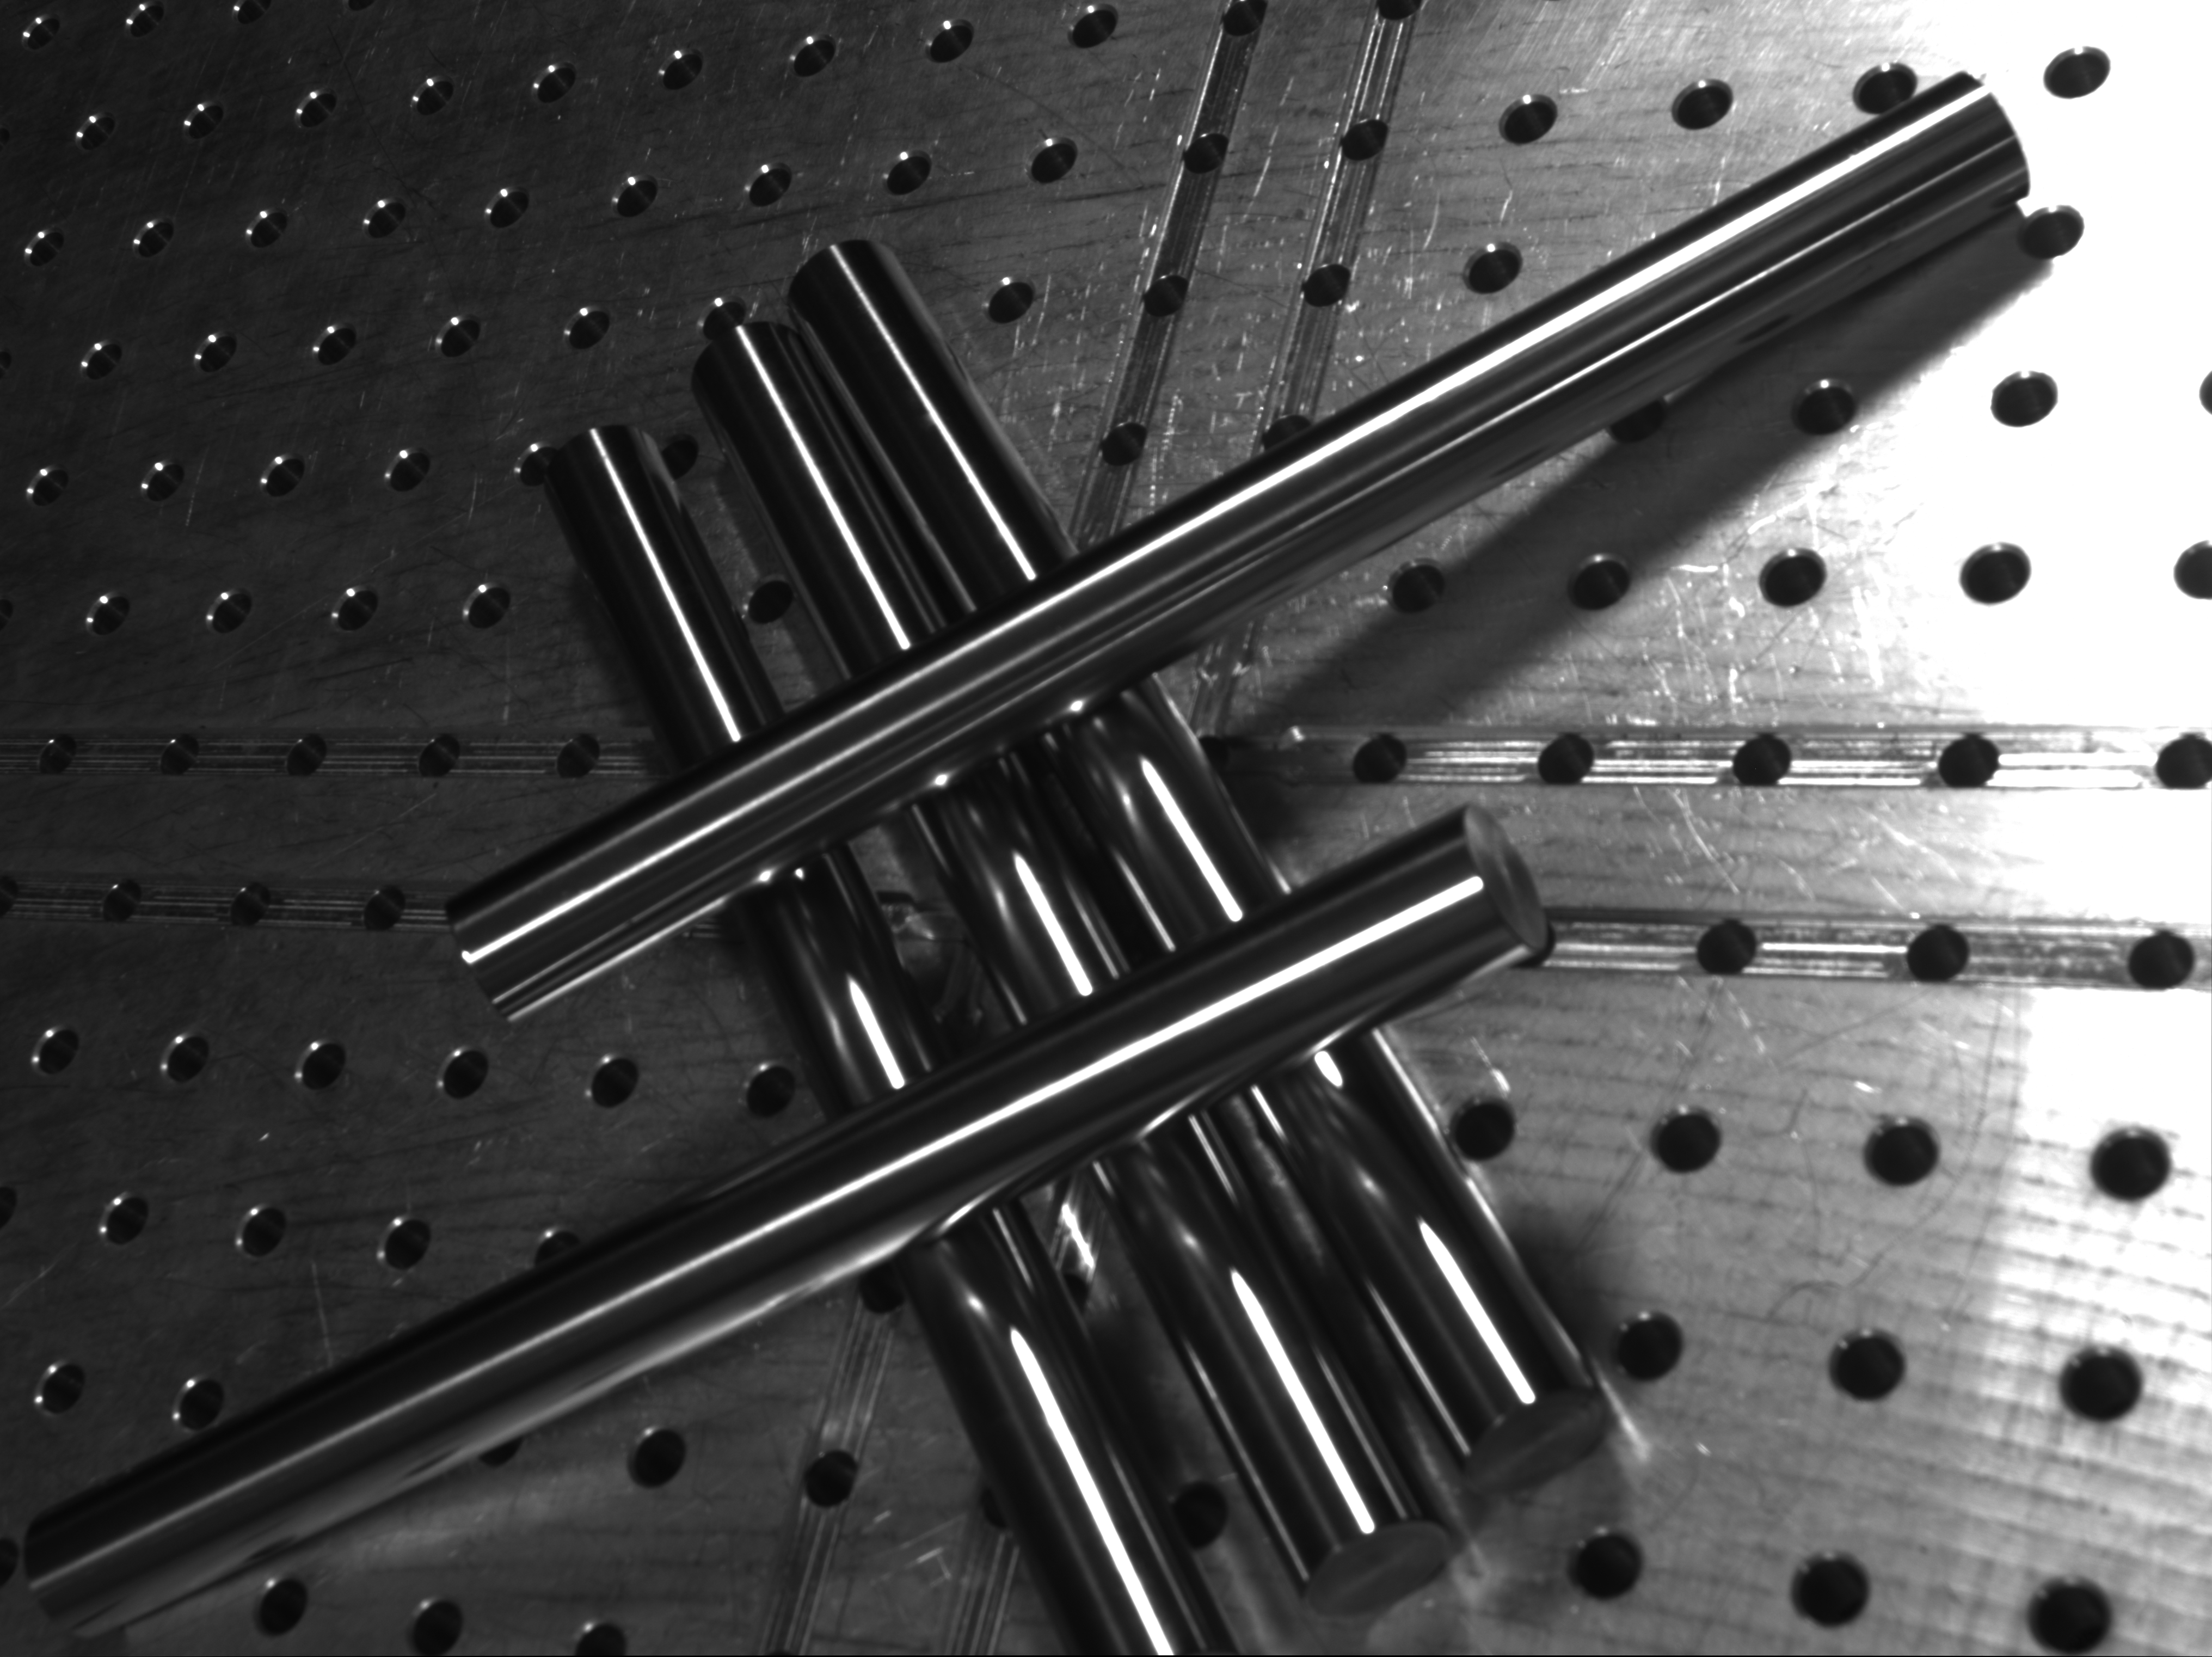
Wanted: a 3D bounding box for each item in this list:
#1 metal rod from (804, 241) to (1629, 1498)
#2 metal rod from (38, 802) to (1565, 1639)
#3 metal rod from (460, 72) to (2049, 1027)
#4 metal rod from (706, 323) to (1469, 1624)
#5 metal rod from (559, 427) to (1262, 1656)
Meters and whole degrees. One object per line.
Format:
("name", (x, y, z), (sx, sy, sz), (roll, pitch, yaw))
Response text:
("metal rod", (0.009, -0.008, 0.647), (0.025, 0.025, 0.299), (-35, 51, 5))
("metal rod", (-0.061, 0.071, 0.609), (0.300, 0.025, 0.025), (-27, 52, 22))
("metal rod", (0.026, -0.048, 0.637), (0.300, 0.025, 0.025), (-29, 51, 0))
("metal rod", (-0.013, 0.010, 0.648), (0.025, 0.025, 0.299), (-34, 51, 6))
("metal rod", (-0.043, 0.031, 0.651), (0.025, 0.025, 0.299), (-34, 51, 6))
